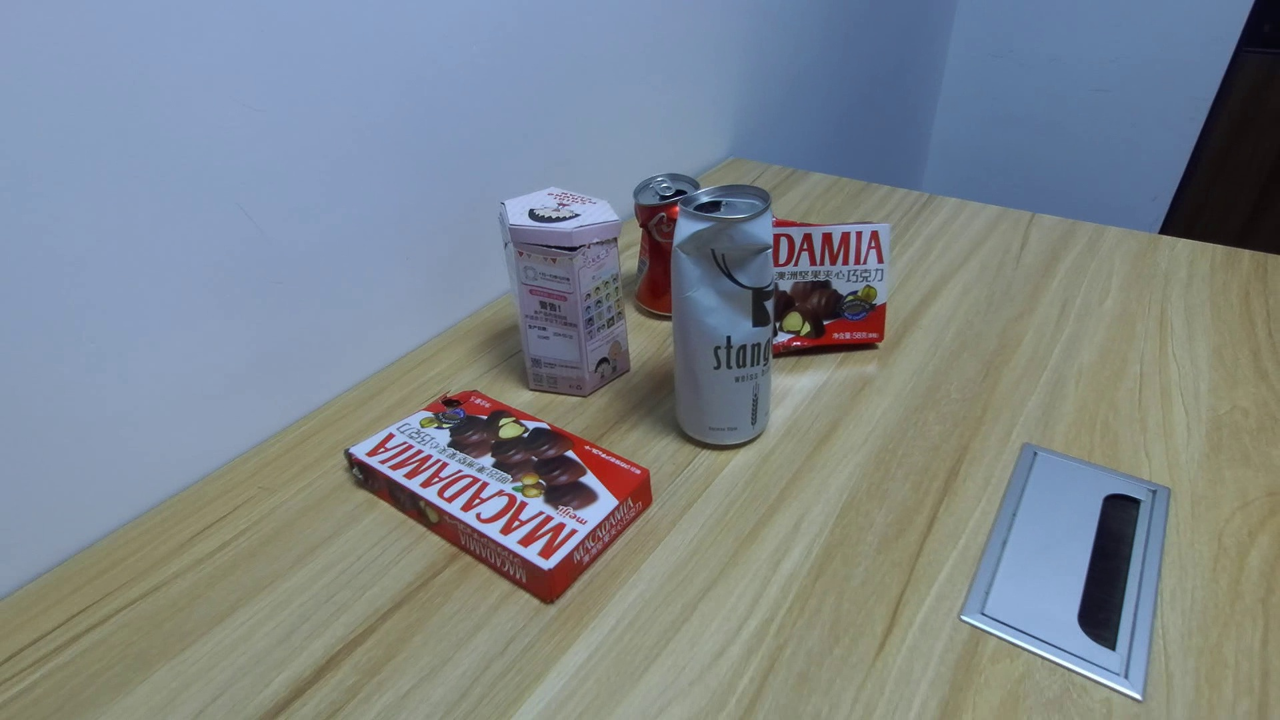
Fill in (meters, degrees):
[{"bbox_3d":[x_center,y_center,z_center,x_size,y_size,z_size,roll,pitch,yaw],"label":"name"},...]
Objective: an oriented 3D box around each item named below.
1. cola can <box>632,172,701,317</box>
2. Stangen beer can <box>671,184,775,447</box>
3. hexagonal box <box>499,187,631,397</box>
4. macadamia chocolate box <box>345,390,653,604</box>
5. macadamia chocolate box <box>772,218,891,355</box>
[{"bbox_3d":[0.026,-0.094,0.596,0.065,0.112,0.069,6,32,13],"label":"cola can"},{"bbox_3d":[0.053,-0.025,0.450,0.066,0.166,0.066,-1,34,4],"label":"Stangen beer can"},{"bbox_3d":[-0.054,-0.050,0.522,0.092,0.135,0.085,8,36,16],"label":"hexagonal box"},{"bbox_3d":[-0.093,0.071,0.451,0.186,0.027,0.103,20,39,30],"label":"macadamia chocolate box"},{"bbox_3d":[0.129,-0.063,0.547,0.126,0.112,0.056,-4,33,-3],"label":"macadamia chocolate box"}]
